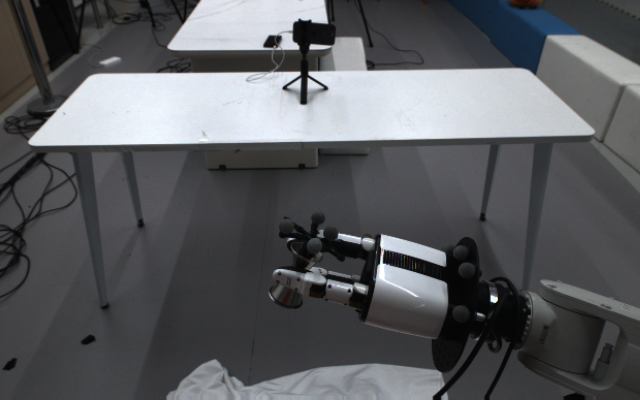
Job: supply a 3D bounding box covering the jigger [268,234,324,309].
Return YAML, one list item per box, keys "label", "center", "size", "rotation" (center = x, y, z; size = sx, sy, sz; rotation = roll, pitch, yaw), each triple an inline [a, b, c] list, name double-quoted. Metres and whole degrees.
- label: "jigger"
  center: [-0.029, 0.088, 0.569]
  size: [0.043, 0.071, 0.043]
  rotation: [23, 19, -8]
